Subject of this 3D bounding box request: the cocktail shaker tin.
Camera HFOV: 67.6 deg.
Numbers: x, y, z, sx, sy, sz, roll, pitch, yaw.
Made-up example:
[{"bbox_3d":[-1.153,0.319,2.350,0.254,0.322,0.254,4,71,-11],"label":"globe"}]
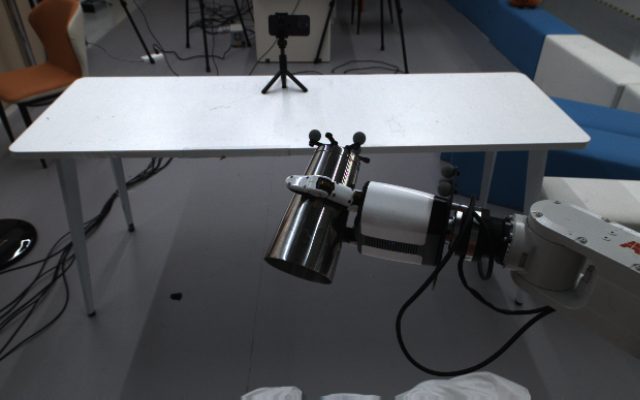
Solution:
[{"bbox_3d":[-0.003,0.015,0.642,0.093,0.093,0.170,14,70,16],"label":"cocktail shaker tin"}]
